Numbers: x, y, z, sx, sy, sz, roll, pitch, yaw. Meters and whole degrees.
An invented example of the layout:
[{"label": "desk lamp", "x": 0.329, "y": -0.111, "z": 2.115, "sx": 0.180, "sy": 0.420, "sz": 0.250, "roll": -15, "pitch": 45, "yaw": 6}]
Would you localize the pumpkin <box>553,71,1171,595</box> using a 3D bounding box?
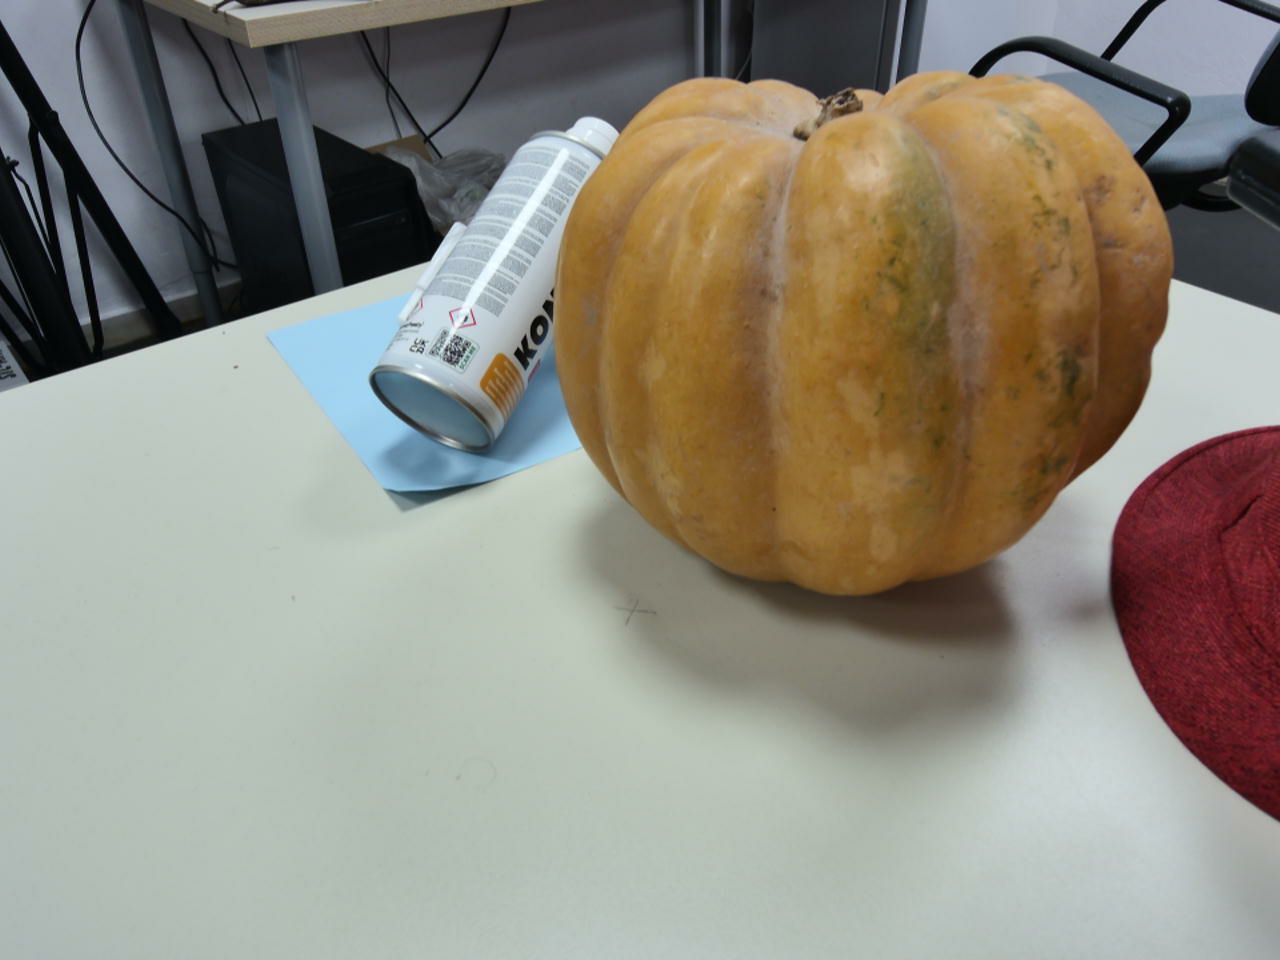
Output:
[{"label": "pumpkin", "x": 0.078, "y": -0.061, "z": 0.394, "sx": 0.230, "sy": 0.194, "sz": 0.230, "roll": 0, "pitch": 35, "yaw": 0}]
